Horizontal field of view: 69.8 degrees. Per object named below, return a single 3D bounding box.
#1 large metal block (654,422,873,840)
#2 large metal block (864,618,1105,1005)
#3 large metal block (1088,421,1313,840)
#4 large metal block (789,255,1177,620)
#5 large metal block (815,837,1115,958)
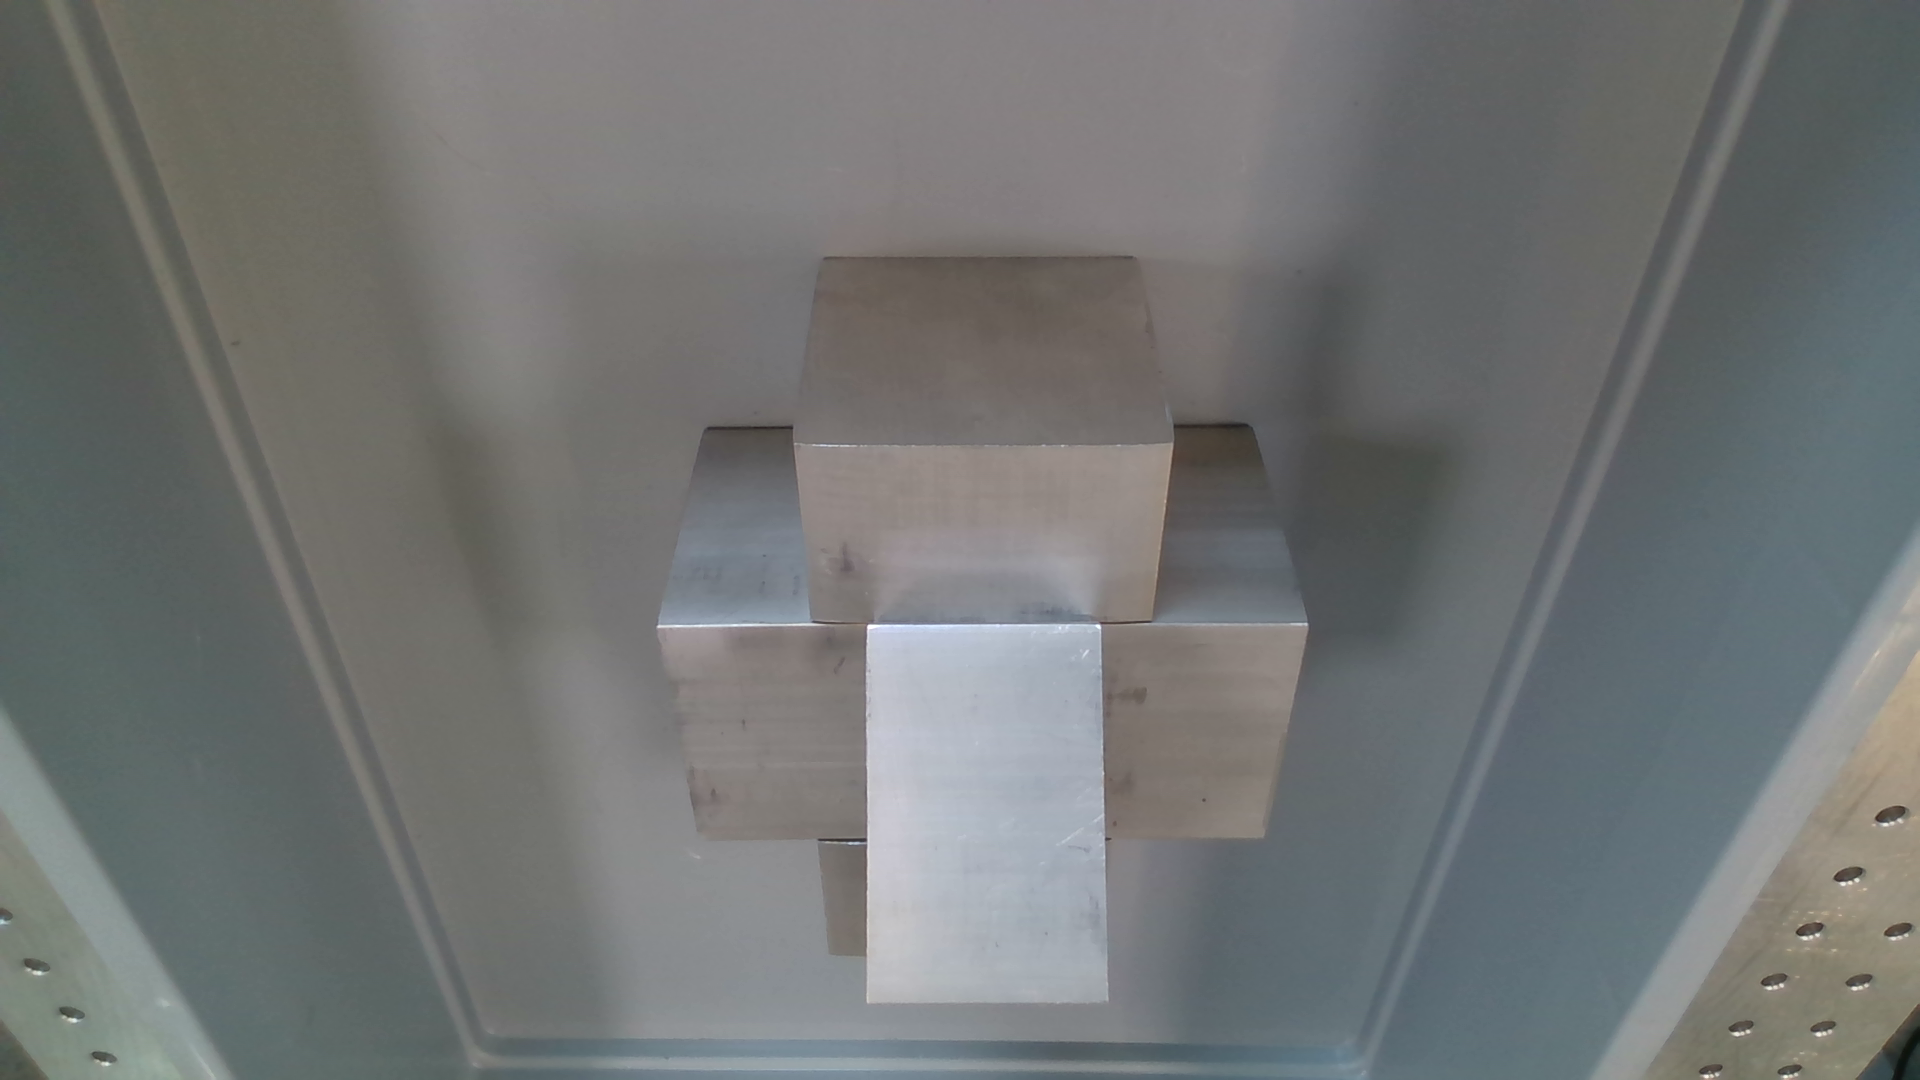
[{"bbox_3d":[-0.045,0.024,0.372,0.050,0.080,0.080,0,130,0],"label":"large metal block"},{"bbox_3d":[0.005,0.060,0.329,0.050,0.080,0.080,0,175,0],"label":"large metal block"},{"bbox_3d":[0.056,0.024,0.372,0.050,0.080,0.080,0,130,0],"label":"large metal block"},{"bbox_3d":[0.005,-0.026,0.330,0.080,0.080,0.050,0,130,0],"label":"large metal block"},{"bbox_3d":[0.001,0.077,0.414,0.080,0.080,0.050,0,131,0],"label":"large metal block"}]
